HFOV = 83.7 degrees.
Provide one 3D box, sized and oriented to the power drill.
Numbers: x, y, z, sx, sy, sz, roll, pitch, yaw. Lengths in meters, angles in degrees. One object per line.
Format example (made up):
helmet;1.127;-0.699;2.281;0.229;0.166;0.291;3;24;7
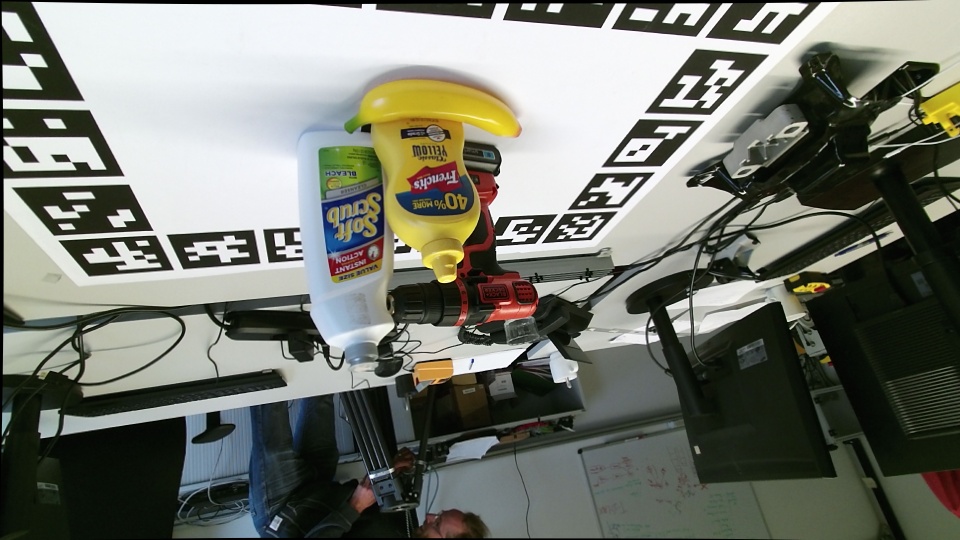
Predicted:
power drill;-0.025;-0.020;0.611;0.185;0.186;0.057;2;153;-29

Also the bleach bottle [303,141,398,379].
bleach bottle;-0.125;-0.013;0.562;0.103;0.249;0.068;-5;160;-22

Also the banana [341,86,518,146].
banana;-0.042;-0.157;0.561;0.198;0.038;0.074;-5;153;-24

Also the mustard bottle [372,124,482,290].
mustard bottle;-0.049;-0.067;0.545;0.096;0.190;0.058;-5;154;-19
